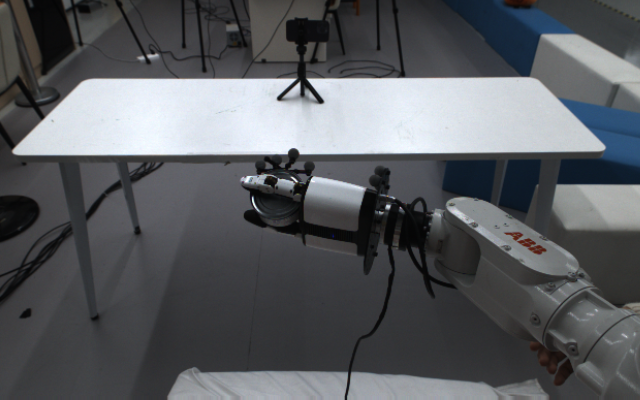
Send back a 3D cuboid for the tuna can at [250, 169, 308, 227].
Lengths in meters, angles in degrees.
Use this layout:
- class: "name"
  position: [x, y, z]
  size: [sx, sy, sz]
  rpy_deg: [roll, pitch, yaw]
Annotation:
- class: "tuna can"
  position: [-0.062, -0.002, 0.744]
  size: [0.085, 0.034, 0.085]
  rpy_deg: [-3, 61, 6]
